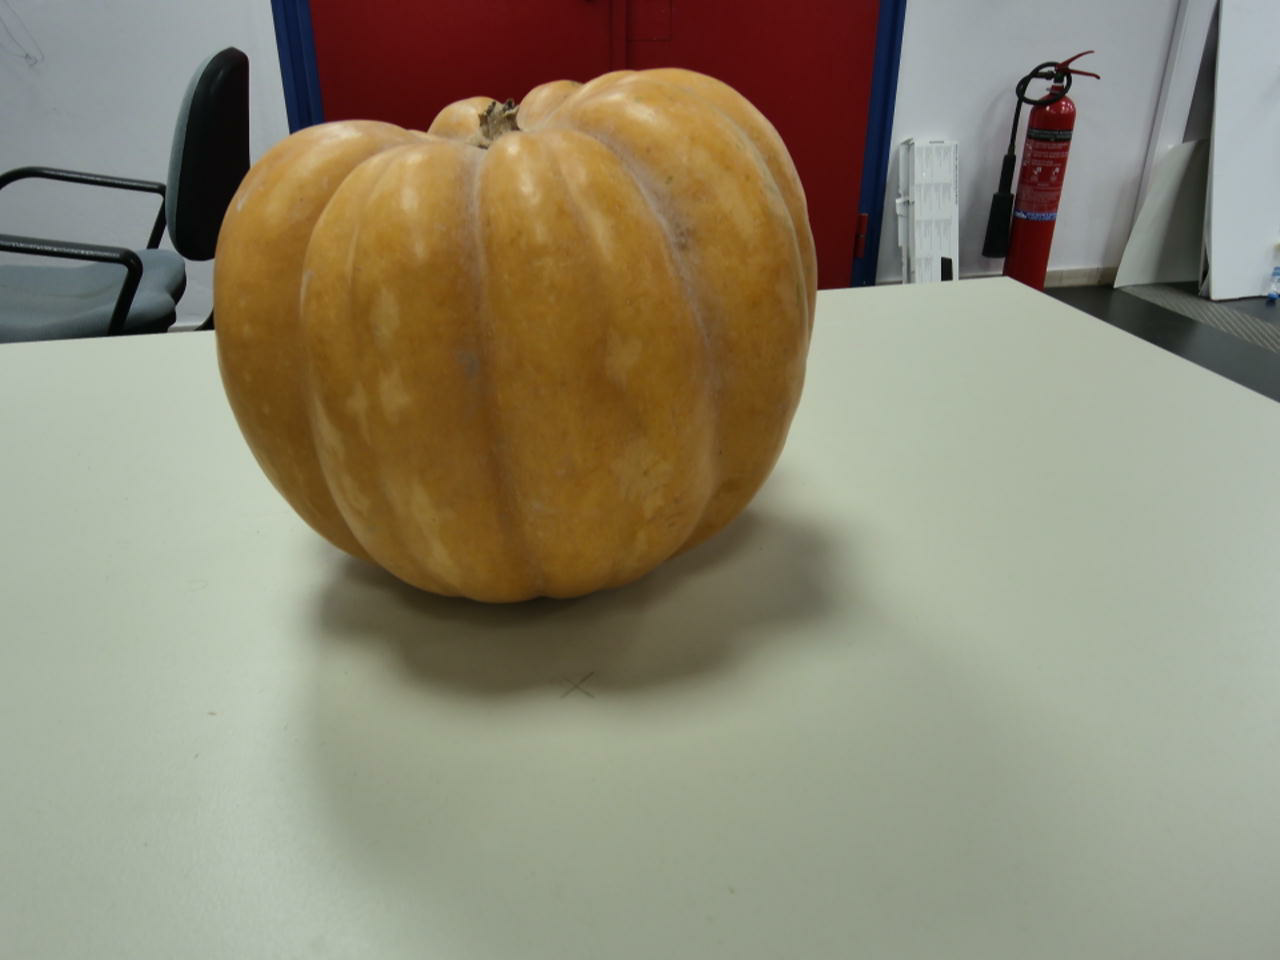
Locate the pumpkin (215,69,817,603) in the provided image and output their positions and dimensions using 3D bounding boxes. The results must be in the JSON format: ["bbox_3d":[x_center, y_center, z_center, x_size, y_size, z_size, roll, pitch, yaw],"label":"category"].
[{"bbox_3d":[-0.042,-0.058,0.397,0.230,0.194,0.230,0,25,0],"label":"pumpkin"}]
